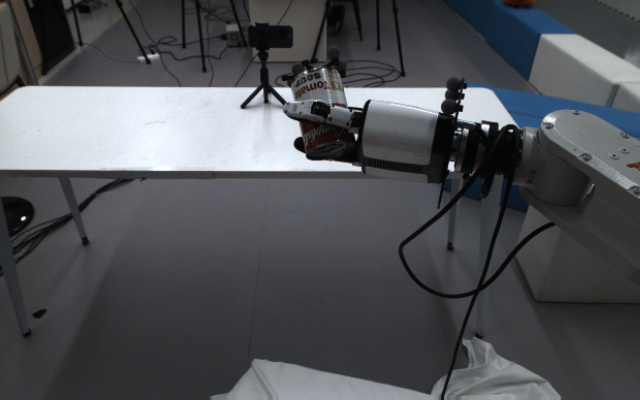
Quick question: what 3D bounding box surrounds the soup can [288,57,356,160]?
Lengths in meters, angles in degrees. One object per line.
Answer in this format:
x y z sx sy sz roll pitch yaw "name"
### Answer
0.005 -0.110 0.626 0.067 0.067 0.101 -10 79 -17 "soup can"
